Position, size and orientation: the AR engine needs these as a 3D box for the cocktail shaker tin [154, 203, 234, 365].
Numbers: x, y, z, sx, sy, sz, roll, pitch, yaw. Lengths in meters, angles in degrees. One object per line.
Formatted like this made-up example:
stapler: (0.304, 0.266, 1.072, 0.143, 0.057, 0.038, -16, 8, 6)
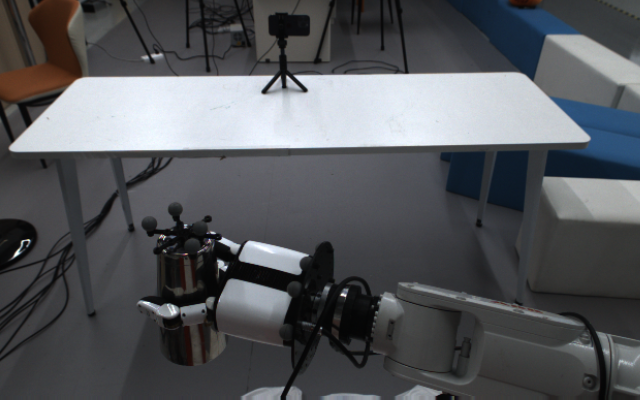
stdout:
cocktail shaker tin: (-0.165, 0.119, 0.618, 0.093, 0.170, 0.093, 3, 32, -2)
